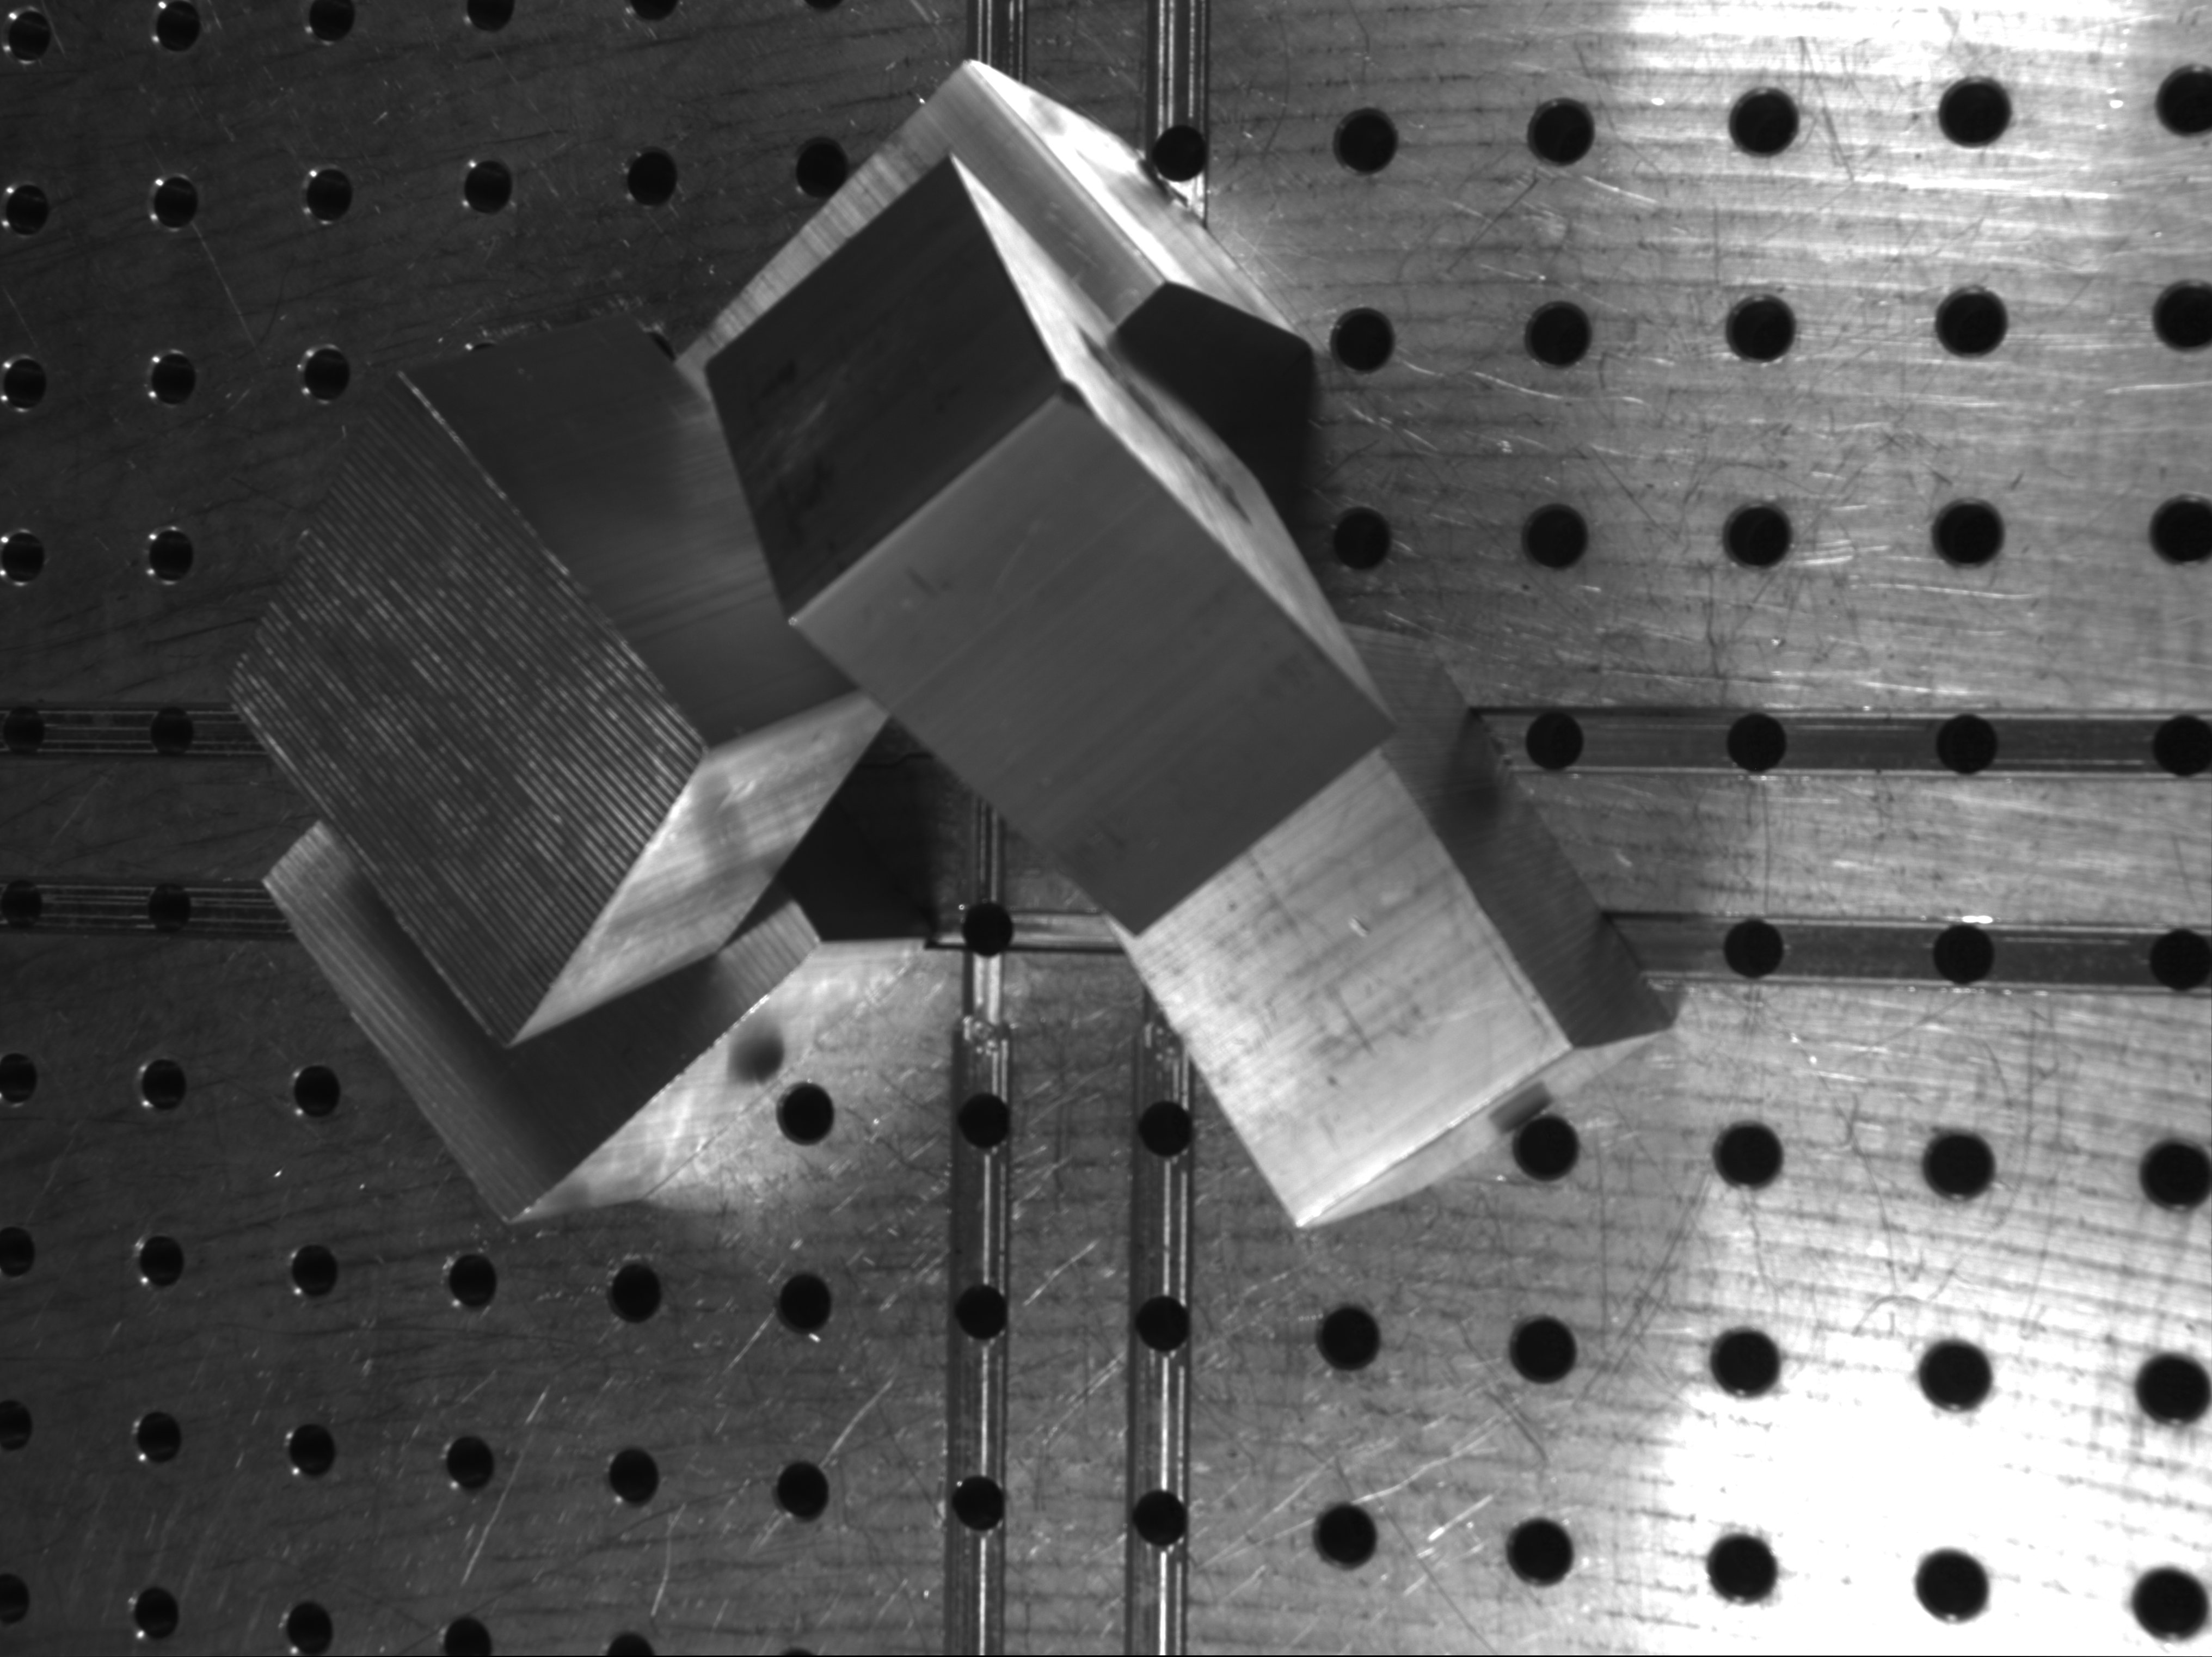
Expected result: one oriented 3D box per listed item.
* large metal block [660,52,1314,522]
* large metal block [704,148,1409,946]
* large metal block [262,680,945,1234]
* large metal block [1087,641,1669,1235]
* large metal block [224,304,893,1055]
[{"bbox_3d":[-0.021,-0.078,0.624,0.080,0.080,0.050,-43,76,15],"label":"large metal block"},{"bbox_3d":[-0.009,-0.042,0.546,0.050,0.080,0.080,-39,35,11],"label":"large metal block"},{"bbox_3d":[-0.091,0.015,0.665,0.080,0.050,0.080,-41,77,15],"label":"large metal block"},{"bbox_3d":[0.042,0.015,0.601,0.050,0.080,0.080,-35,79,16],"label":"large metal block"},{"bbox_3d":[-0.087,-0.024,0.595,0.080,0.050,0.080,50,130,13],"label":"large metal block"}]
